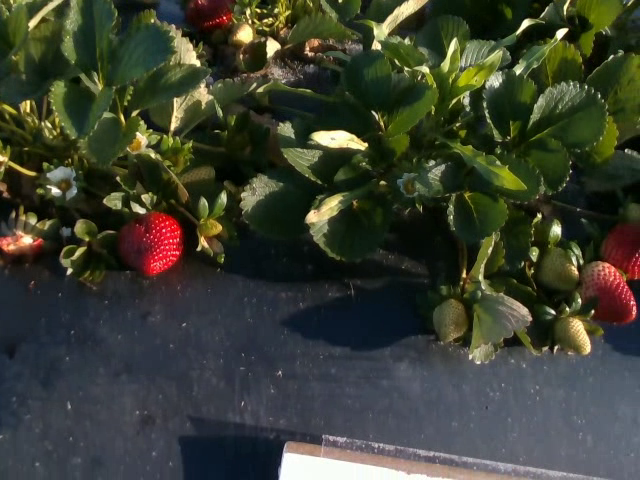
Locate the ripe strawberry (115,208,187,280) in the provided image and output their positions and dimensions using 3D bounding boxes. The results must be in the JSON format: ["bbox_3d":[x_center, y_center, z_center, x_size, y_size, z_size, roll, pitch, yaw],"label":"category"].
[{"bbox_3d":[-0.113,0.006,0.413,0.052,0.041,0.052,-22,30,1],"label":"ripe strawberry"}]
